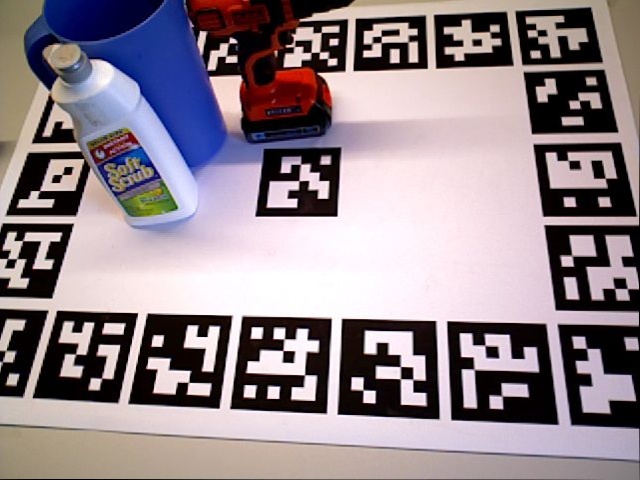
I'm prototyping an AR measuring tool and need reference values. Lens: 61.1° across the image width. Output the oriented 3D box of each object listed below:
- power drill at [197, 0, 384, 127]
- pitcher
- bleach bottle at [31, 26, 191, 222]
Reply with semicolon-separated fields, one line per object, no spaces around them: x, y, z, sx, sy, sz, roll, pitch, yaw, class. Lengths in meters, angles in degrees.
-0.029;-0.204;0.598;0.184;0.190;0.057;-3;66;-1;power drill
-0.197;-0.190;0.605;0.188;0.245;0.132;-25;65;-5;pitcher
-0.214;-0.108;0.546;0.102;0.254;0.067;-7;63;4;bleach bottle
